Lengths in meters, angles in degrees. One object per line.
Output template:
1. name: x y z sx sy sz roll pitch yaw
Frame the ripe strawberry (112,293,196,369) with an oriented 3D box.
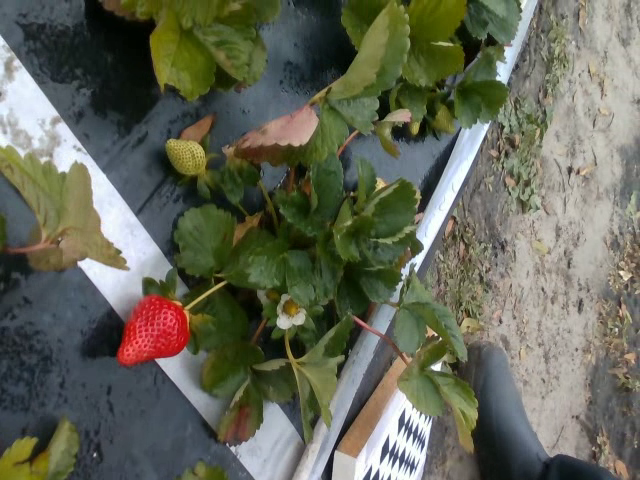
1. ripe strawberry: -0.095 0.052 0.343 0.037 0.042 0.051 17 31 20
